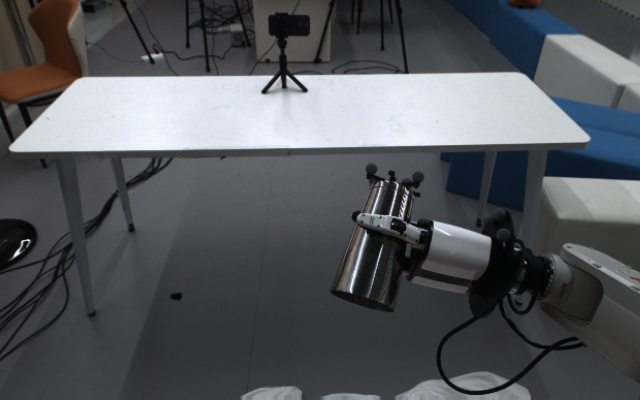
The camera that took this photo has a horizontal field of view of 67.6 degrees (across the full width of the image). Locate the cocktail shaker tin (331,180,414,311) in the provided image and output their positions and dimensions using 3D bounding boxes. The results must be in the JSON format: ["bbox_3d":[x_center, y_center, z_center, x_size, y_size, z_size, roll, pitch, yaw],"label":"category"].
[{"bbox_3d":[0.080,0.061,0.684,0.093,0.093,0.170,13,70,15],"label":"cocktail shaker tin"}]
